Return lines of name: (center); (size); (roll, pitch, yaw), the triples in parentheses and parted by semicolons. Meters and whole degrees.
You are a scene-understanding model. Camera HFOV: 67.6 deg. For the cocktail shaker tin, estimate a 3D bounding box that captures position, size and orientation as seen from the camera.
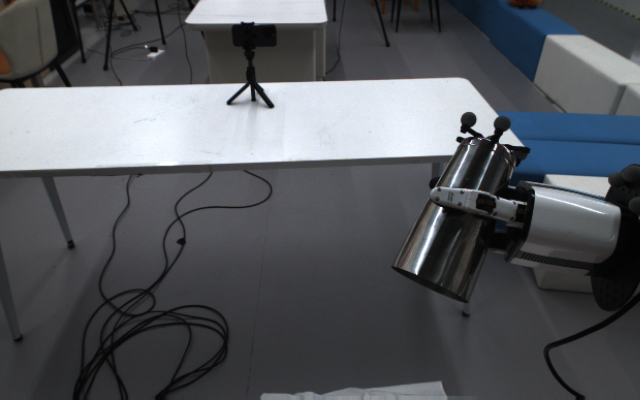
cocktail shaker tin: (0.160, 0.016, 0.548); (0.093, 0.093, 0.170); (21, 81, 25)
